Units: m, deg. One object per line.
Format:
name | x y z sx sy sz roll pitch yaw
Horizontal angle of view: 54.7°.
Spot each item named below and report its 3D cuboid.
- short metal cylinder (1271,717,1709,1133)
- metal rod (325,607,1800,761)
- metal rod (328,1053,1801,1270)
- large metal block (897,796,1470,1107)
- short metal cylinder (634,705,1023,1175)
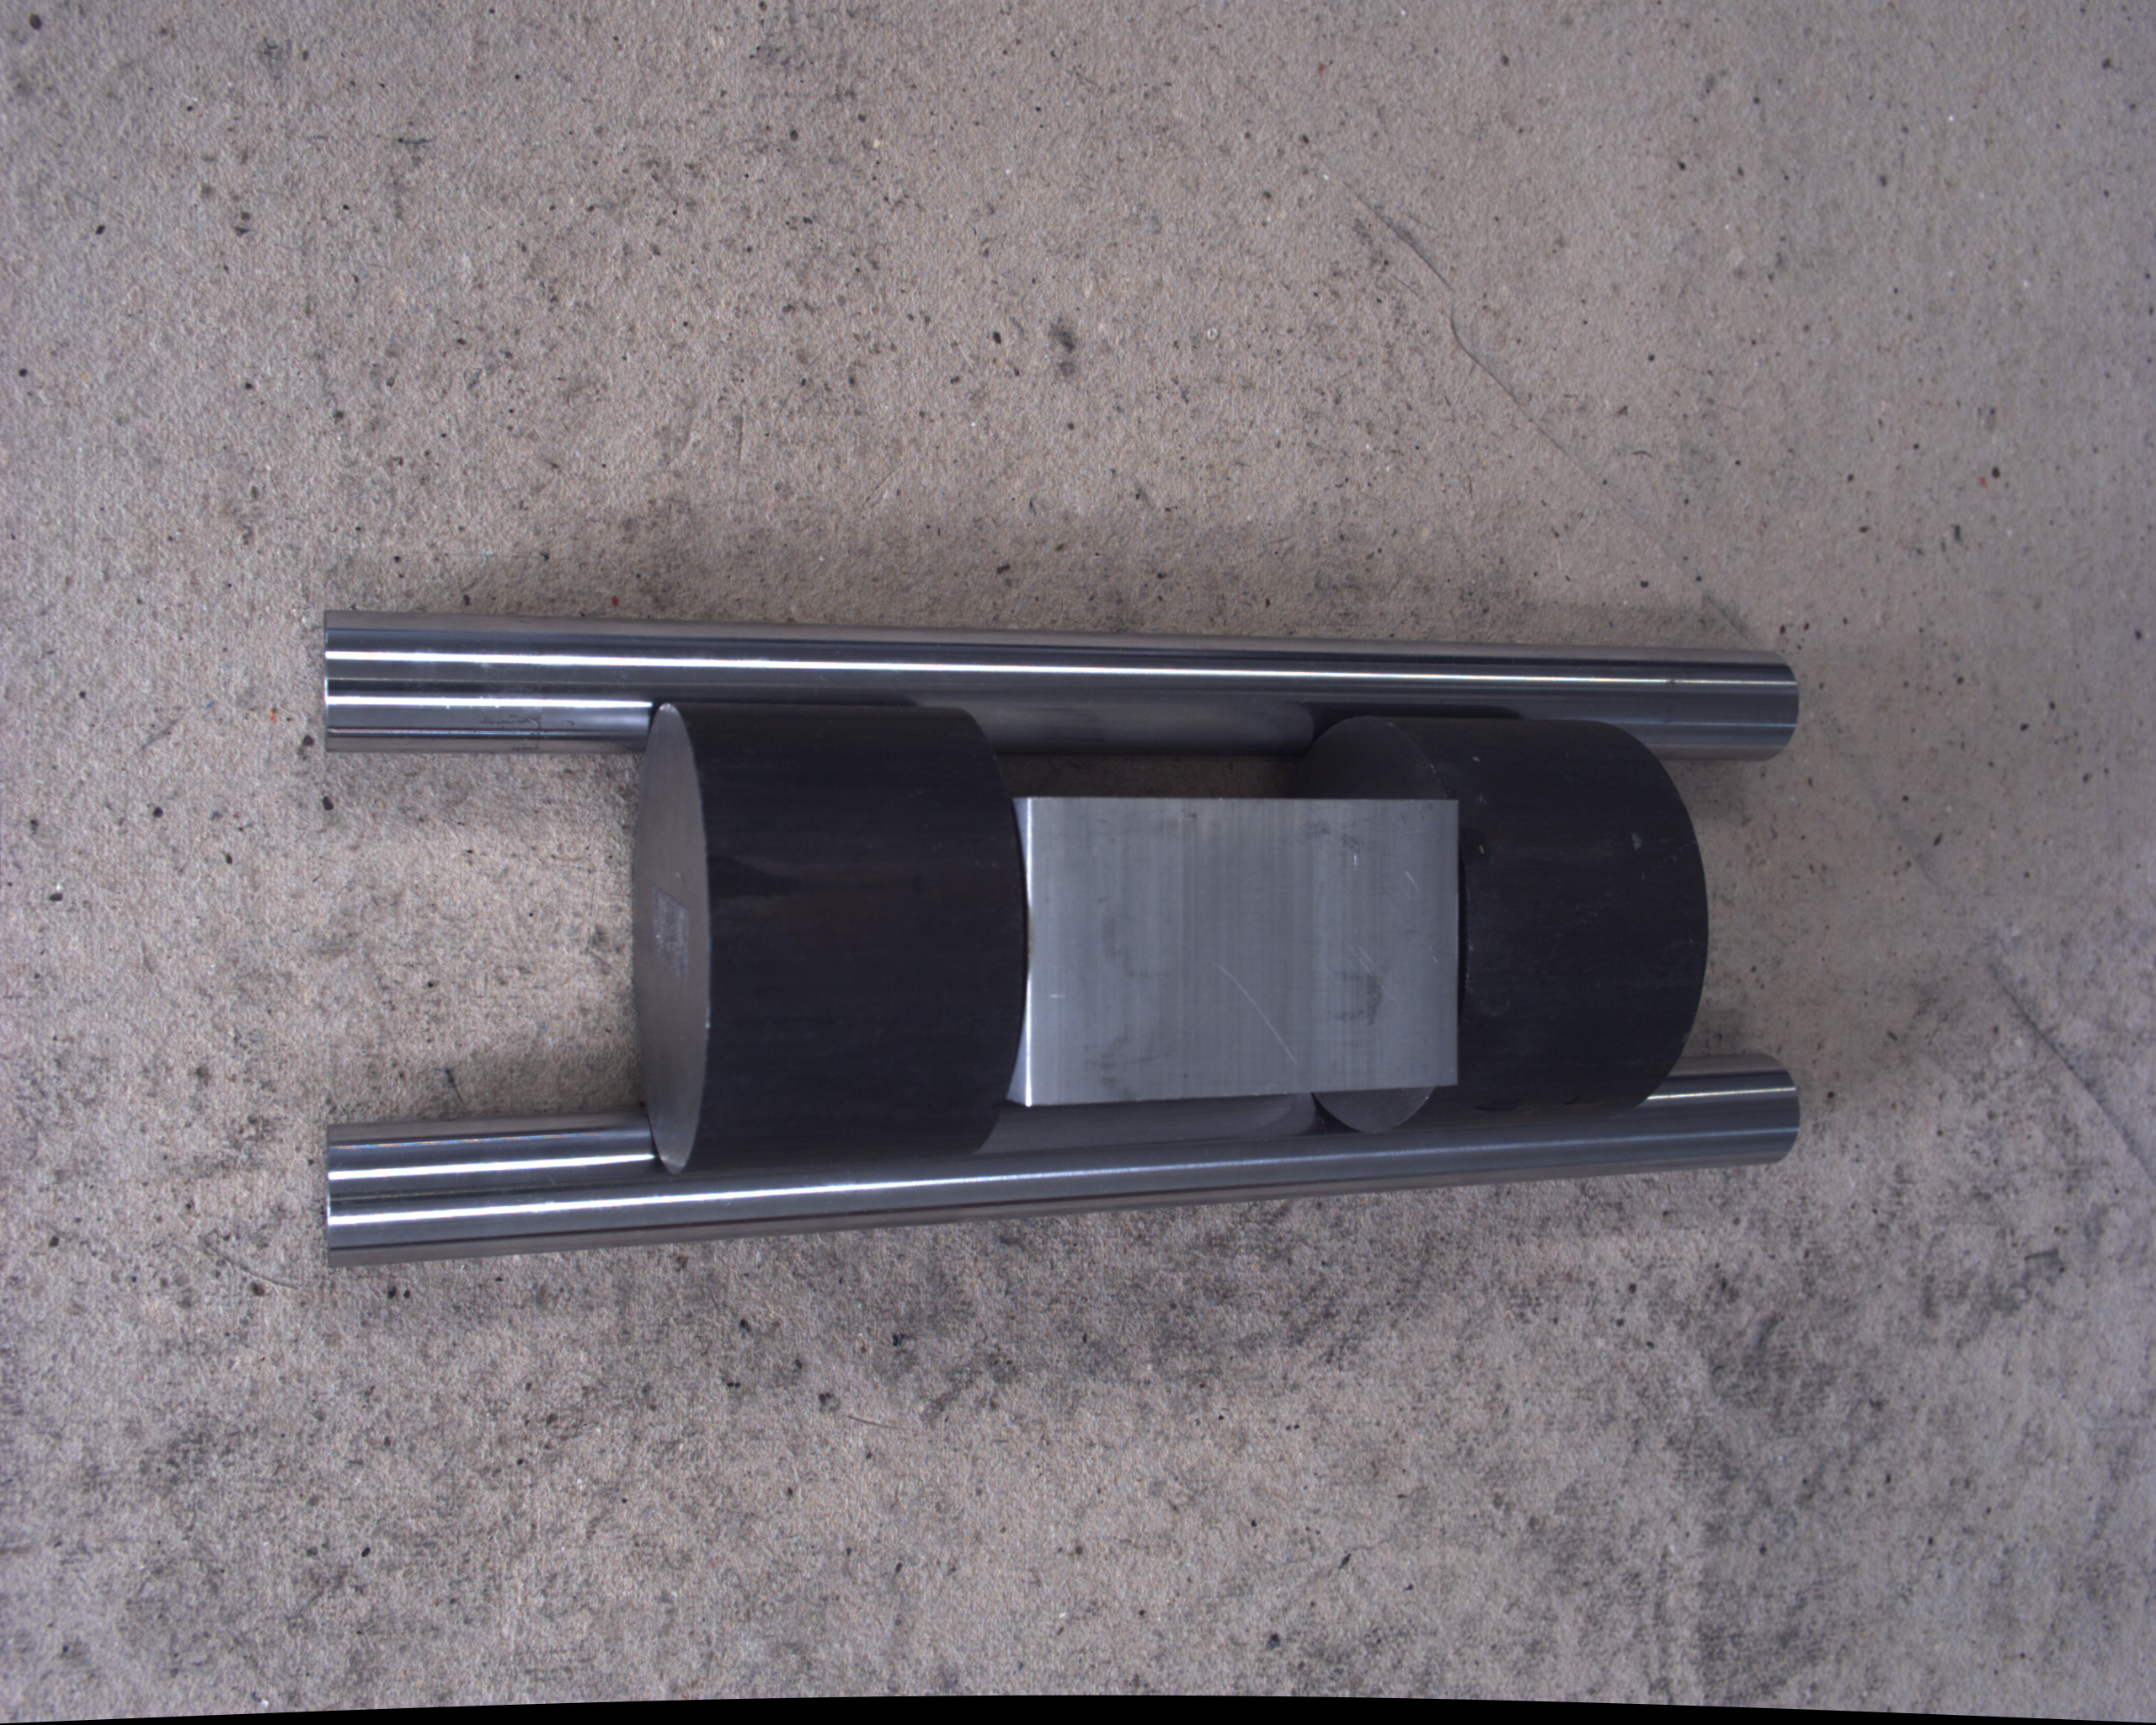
short metal cylinder | 0.078 0.012 0.409 0.050 0.080 0.079 -1 91 -20
metal rod | 0.011 -0.033 0.414 0.303 0.025 0.025 -1 91 -20
metal rod | 0.012 0.056 0.415 0.303 0.025 0.025 -1 91 -20
large metal block | 0.016 0.014 0.384 0.081 0.080 0.050 0 90 -20
short metal cylinder | -0.046 0.013 0.363 0.050 0.080 0.079 -1 91 -20
